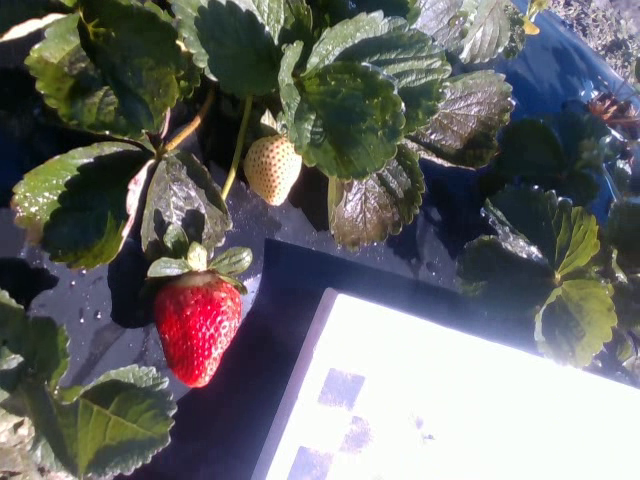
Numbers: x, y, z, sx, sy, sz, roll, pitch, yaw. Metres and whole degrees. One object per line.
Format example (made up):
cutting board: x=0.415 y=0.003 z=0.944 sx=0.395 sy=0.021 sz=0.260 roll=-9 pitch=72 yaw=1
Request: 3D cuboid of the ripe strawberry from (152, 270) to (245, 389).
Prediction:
ripe strawberry: x=-0.065 y=0.049 z=0.314 sx=0.048 sy=0.069 sz=0.040 roll=2 pitch=3 yaw=-18
